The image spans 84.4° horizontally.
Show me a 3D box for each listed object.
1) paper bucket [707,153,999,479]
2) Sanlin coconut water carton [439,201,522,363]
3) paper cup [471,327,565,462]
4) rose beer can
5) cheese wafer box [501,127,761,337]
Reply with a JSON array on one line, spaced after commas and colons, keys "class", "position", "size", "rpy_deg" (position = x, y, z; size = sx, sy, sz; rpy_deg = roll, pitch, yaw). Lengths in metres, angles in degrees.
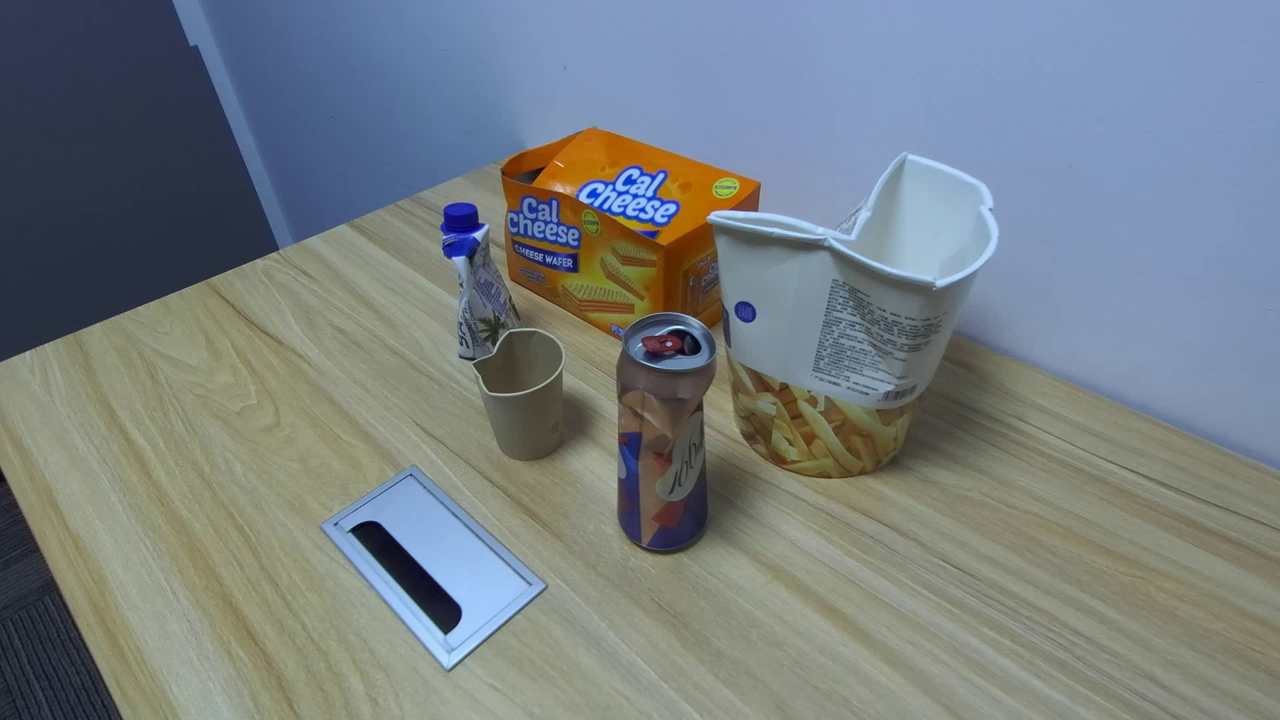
[{"class": "paper bucket", "position": [0.155, -0.035, 0.537], "size": [0.168, 0.202, 0.163], "rpy_deg": [25, 45, 24]}, {"class": "Sanlin coconut water carton", "position": [-0.151, -0.063, 0.625], "size": [0.056, 0.145, 0.068], "rpy_deg": [1, 46, 16]}, {"class": "paper cup", "position": [-0.090, 0.031, 0.558], "size": [0.069, 0.081, 0.073], "rpy_deg": [-19, 41, -21]}, {"class": "rose beer can", "position": [0.018, 0.053, 0.461], "size": [0.065, 0.167, 0.076], "rpy_deg": [23, 42, 24]}, {"class": "cheese wafer box", "position": [-0.017, -0.123, 0.699], "size": [0.229, 0.132, 0.152], "rpy_deg": [30, 50, 31]}]
